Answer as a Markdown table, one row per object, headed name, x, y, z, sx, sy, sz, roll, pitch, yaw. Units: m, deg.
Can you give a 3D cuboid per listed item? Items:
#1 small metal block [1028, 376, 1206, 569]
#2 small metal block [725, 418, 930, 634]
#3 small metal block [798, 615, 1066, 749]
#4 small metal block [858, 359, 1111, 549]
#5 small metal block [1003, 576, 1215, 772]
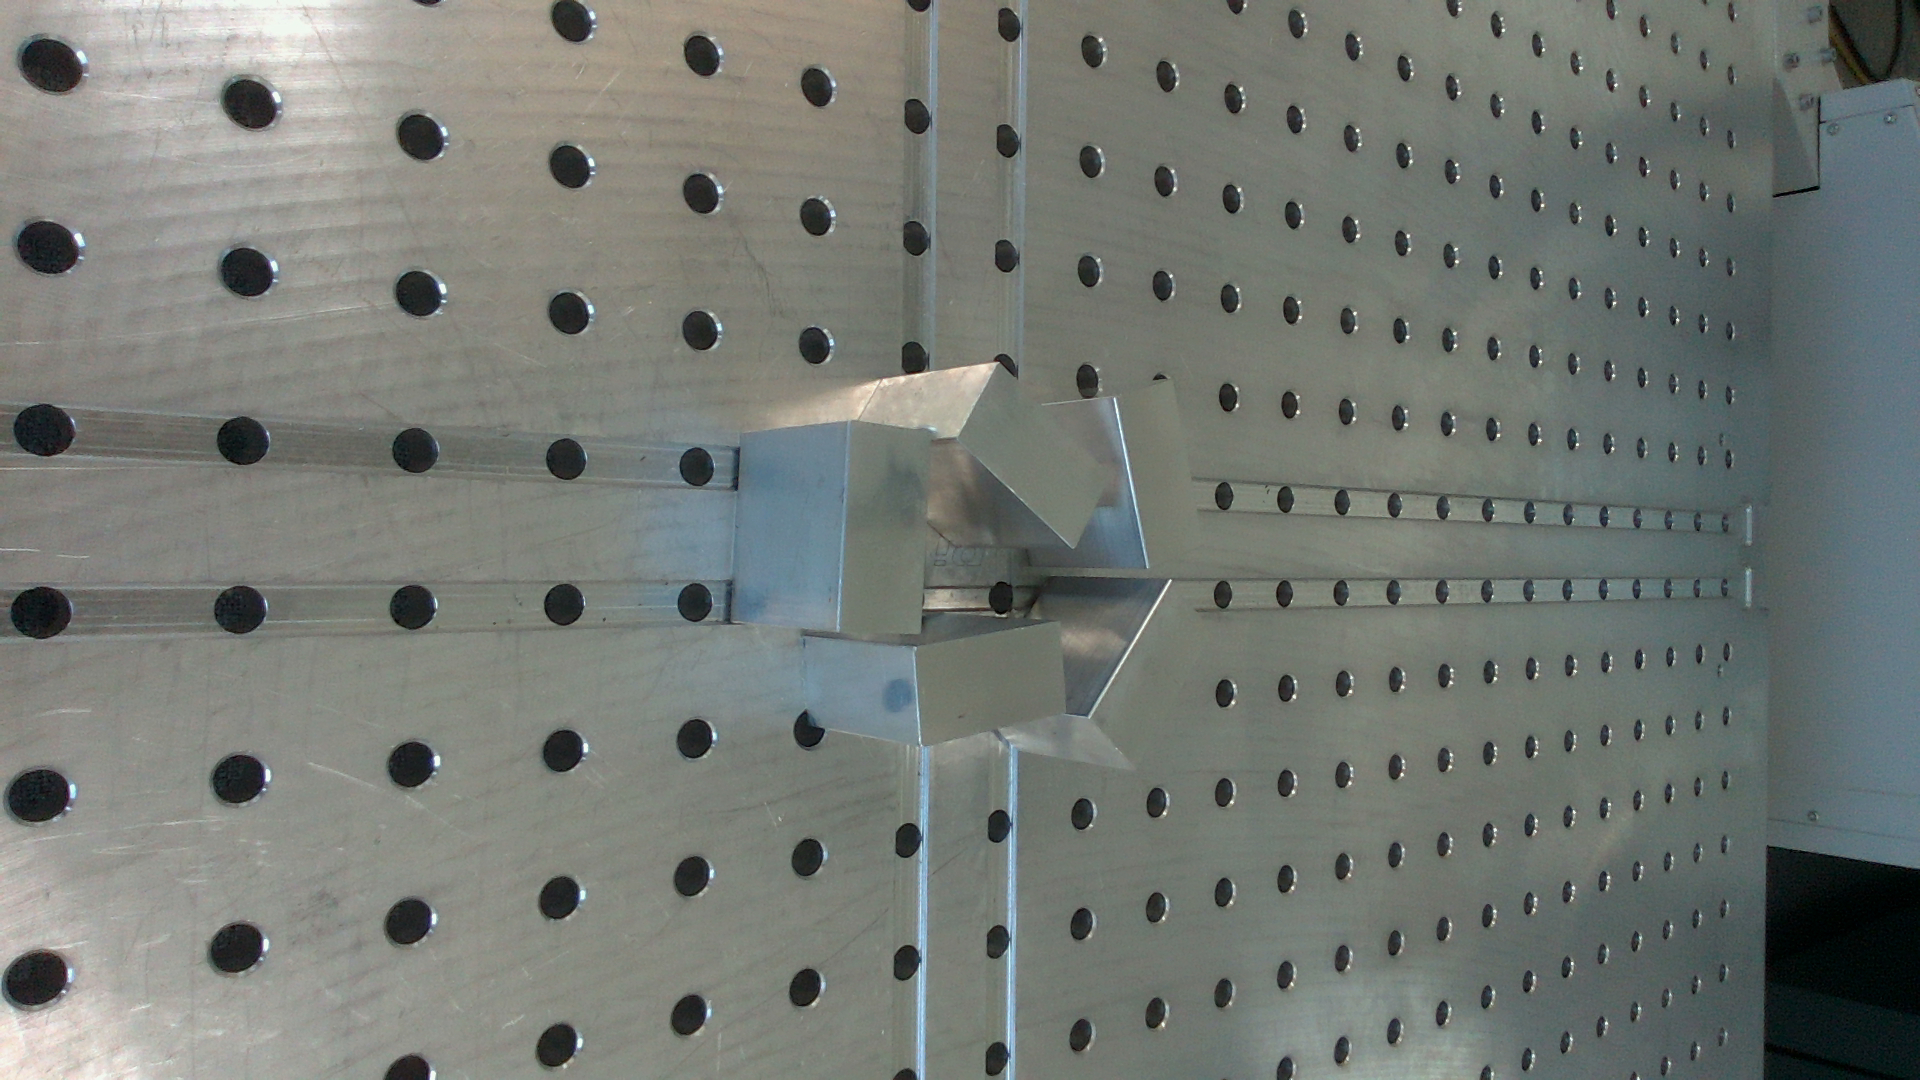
| name | x | y | z | sx | sy | sz | roll | pitch | yaw |
| --- | --- | --- | --- | --- | --- | --- | --- | --- | --- |
| small metal block | 0.041 | -0.019 | 0.409 | 0.025 | 0.050 | 0.050 | -21 | 102 | -38 |
| small metal block | -0.034 | -0.003 | 0.347 | 0.025 | 0.050 | 0.050 | 5 | 88 | -39 |
| small metal block | -0.008 | 0.036 | 0.368 | 0.050 | 0.050 | 0.025 | -7 | 94 | -40 |
| small metal block | 0.004 | -0.022 | 0.378 | 0.050 | 0.050 | 0.025 | 41 | 66 | -33 |
| small metal block | 0.039 | 0.038 | 0.407 | 0.025 | 0.050 | 0.050 | 49 | 61 | -27 |
